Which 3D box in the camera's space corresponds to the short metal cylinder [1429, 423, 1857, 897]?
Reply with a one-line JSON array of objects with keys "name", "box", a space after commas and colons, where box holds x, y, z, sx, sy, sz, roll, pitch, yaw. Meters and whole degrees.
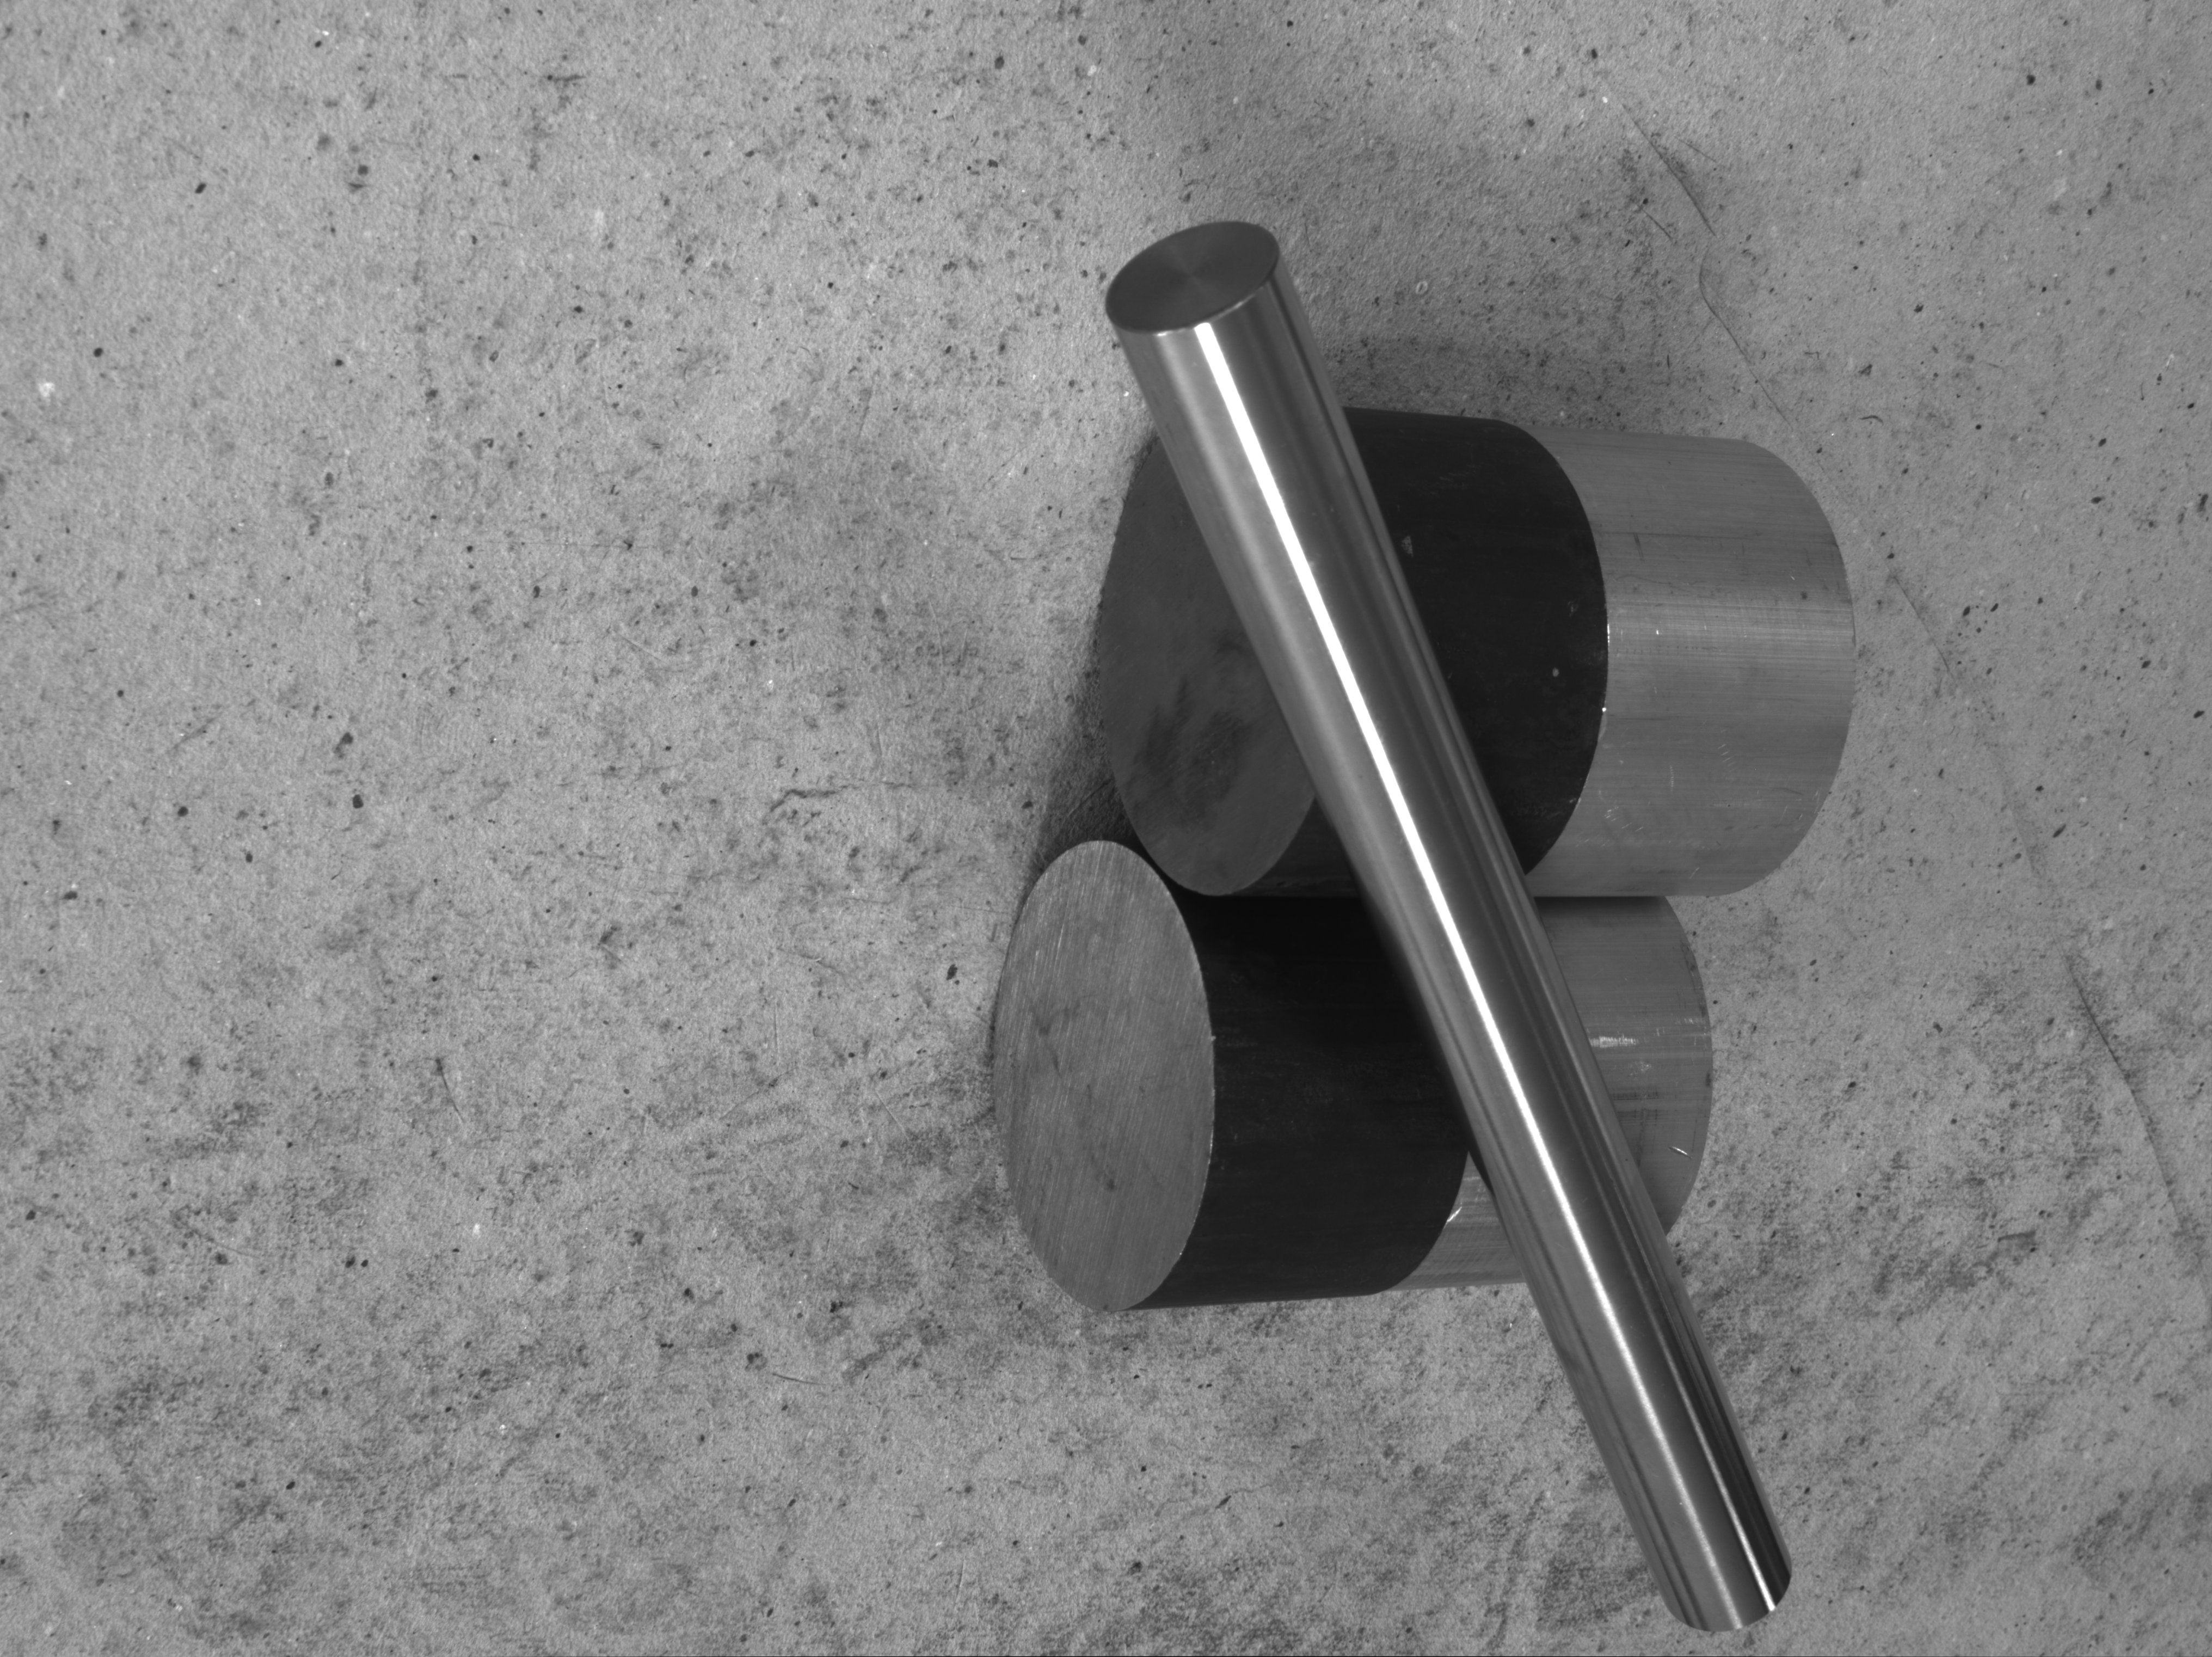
[{"name": "short metal cylinder", "box": [0.083, -0.028, 0.631, 0.050, 0.080, 0.080, 1, 118, -28]}]

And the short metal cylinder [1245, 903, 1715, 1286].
[{"name": "short metal cylinder", "box": [0.065, 0.042, 0.664, 0.050, 0.080, 0.080, 1, 118, -28]}]

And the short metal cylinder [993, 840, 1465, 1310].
[{"name": "short metal cylinder", "box": [0.021, 0.042, 0.640, 0.050, 0.080, 0.080, 1, 118, -28]}]

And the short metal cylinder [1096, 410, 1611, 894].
[{"name": "short metal cylinder", "box": [0.039, -0.029, 0.606, 0.050, 0.080, 0.080, 1, 118, -28]}]

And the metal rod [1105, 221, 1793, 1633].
[{"name": "metal rod", "box": [0.063, 0.032, 0.589, 0.025, 0.025, 0.301, -32, 128, -8]}]
